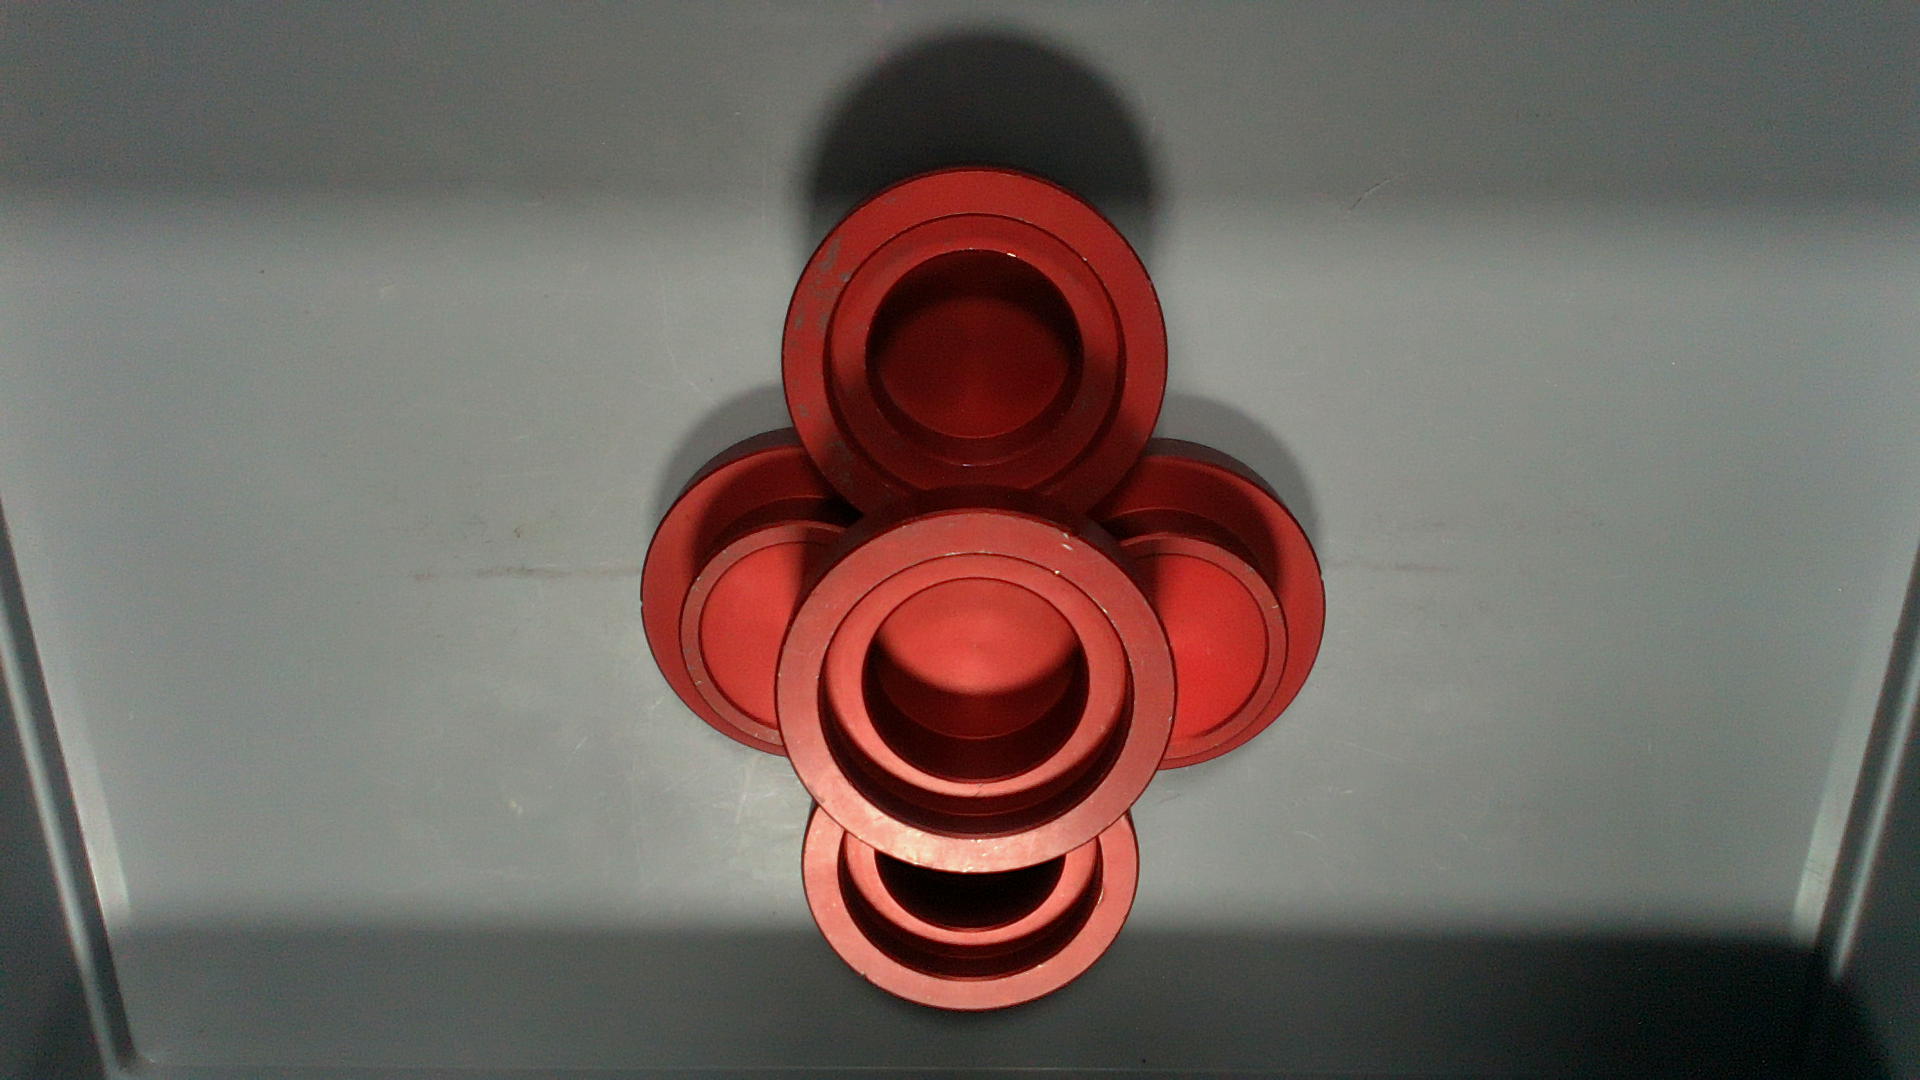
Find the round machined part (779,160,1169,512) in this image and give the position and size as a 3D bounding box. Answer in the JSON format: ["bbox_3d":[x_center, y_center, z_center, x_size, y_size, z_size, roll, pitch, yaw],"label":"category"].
[{"bbox_3d":[0.004,-0.050,0.364,0.098,0.042,0.098,0,110,0],"label":"round machined part"}]

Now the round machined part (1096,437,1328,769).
[{"bbox_3d":[0.056,0.023,0.392,0.098,0.042,0.098,0,110,0],"label":"round machined part"}]

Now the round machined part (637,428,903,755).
[{"bbox_3d":[-0.043,0.020,0.391,0.098,0.042,0.098,0,110,0],"label":"round machined part"}]

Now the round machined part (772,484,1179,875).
[{"bbox_3d":[0.004,0.032,0.350,0.098,0.042,0.098,0,110,0],"label":"round machined part"}]

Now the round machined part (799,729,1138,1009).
[{"bbox_3d":[0.003,0.088,0.416,0.098,0.042,0.098,0,110,0],"label":"round machined part"}]
